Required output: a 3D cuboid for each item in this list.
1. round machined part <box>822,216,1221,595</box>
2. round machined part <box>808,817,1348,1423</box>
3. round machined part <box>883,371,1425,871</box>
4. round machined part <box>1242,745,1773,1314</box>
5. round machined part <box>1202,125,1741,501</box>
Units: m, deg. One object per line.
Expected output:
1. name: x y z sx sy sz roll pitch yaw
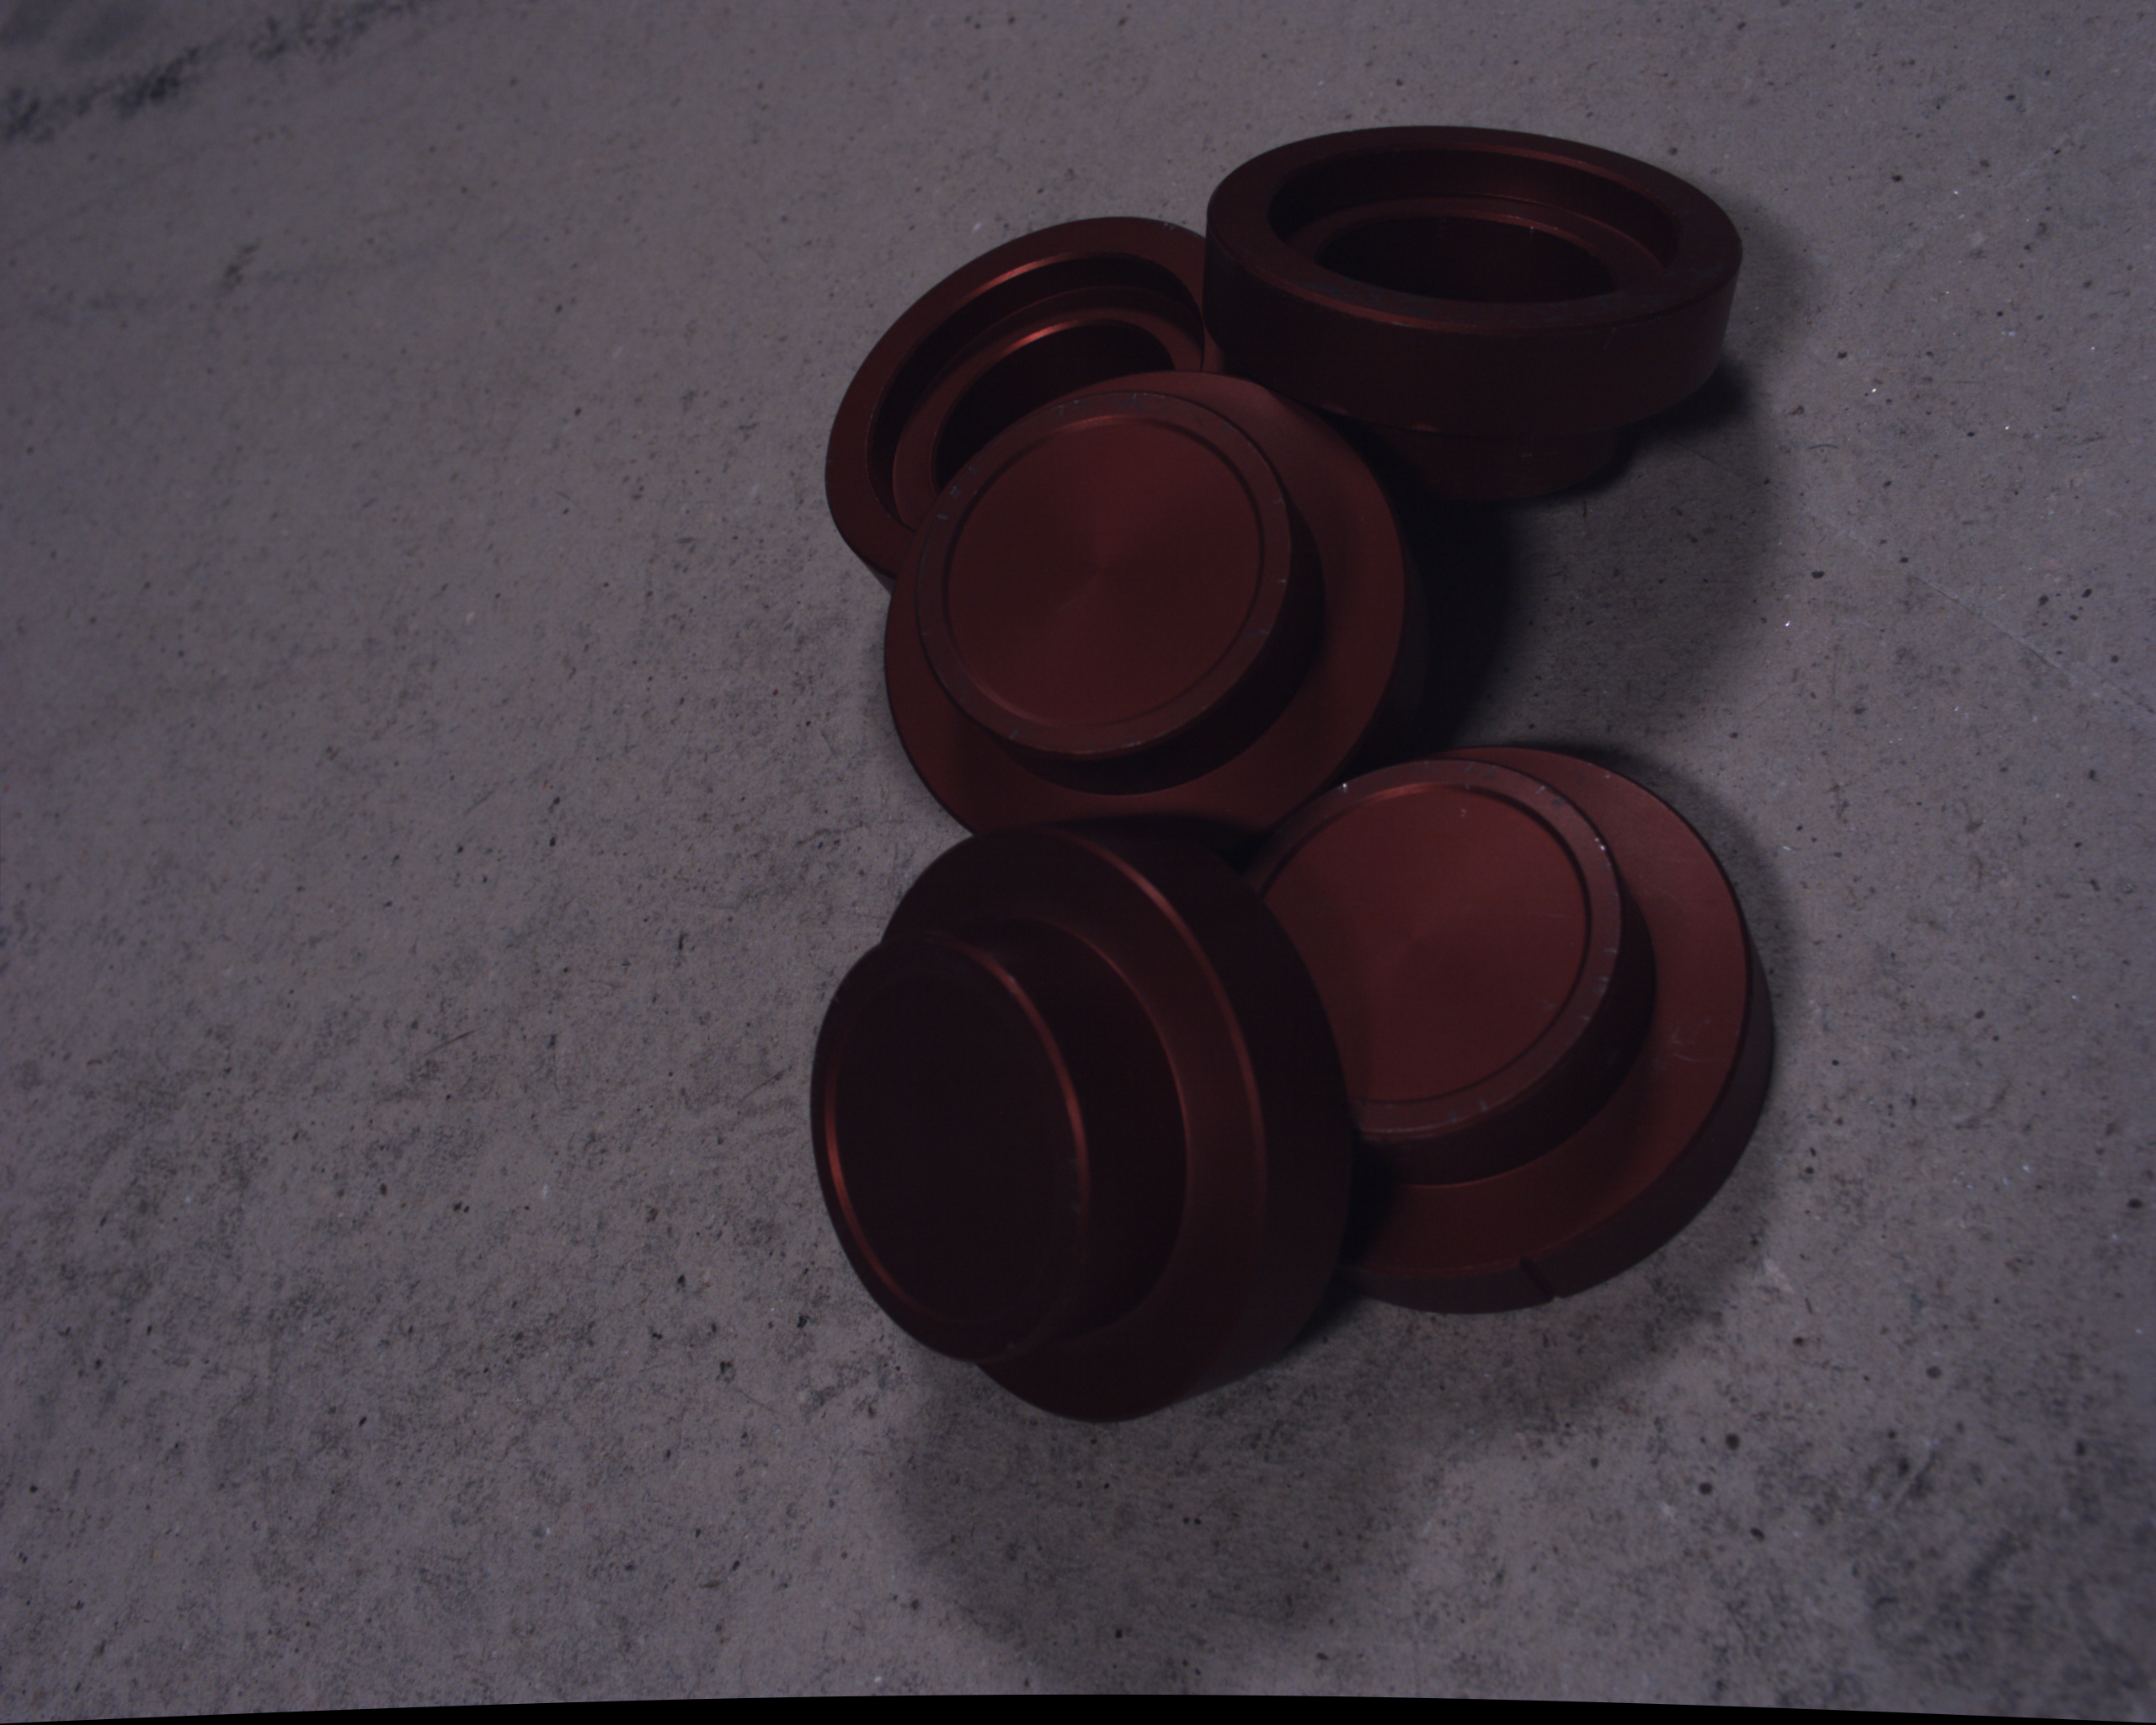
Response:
1. round machined part: -0.002 -0.087 0.448 0.098 0.042 0.098 -13 56 20
2. round machined part: -0.007 0.043 0.338 0.098 0.042 0.097 8 101 47
3. round machined part: 0.010 -0.045 0.373 0.098 0.042 0.098 -6 71 17
4. round machined part: 0.062 0.022 0.348 0.098 0.042 0.098 -13 56 20
5. round machined part: 0.073 -0.104 0.401 0.099 0.042 0.098 0 39 0
